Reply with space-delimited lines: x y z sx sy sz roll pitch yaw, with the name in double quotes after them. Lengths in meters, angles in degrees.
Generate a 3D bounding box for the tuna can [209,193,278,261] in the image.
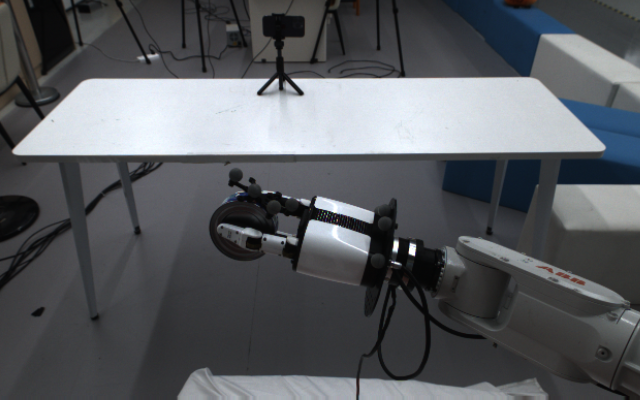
-0.097 0.035 0.634 0.085 0.085 0.034 4 20 3 "tuna can"
